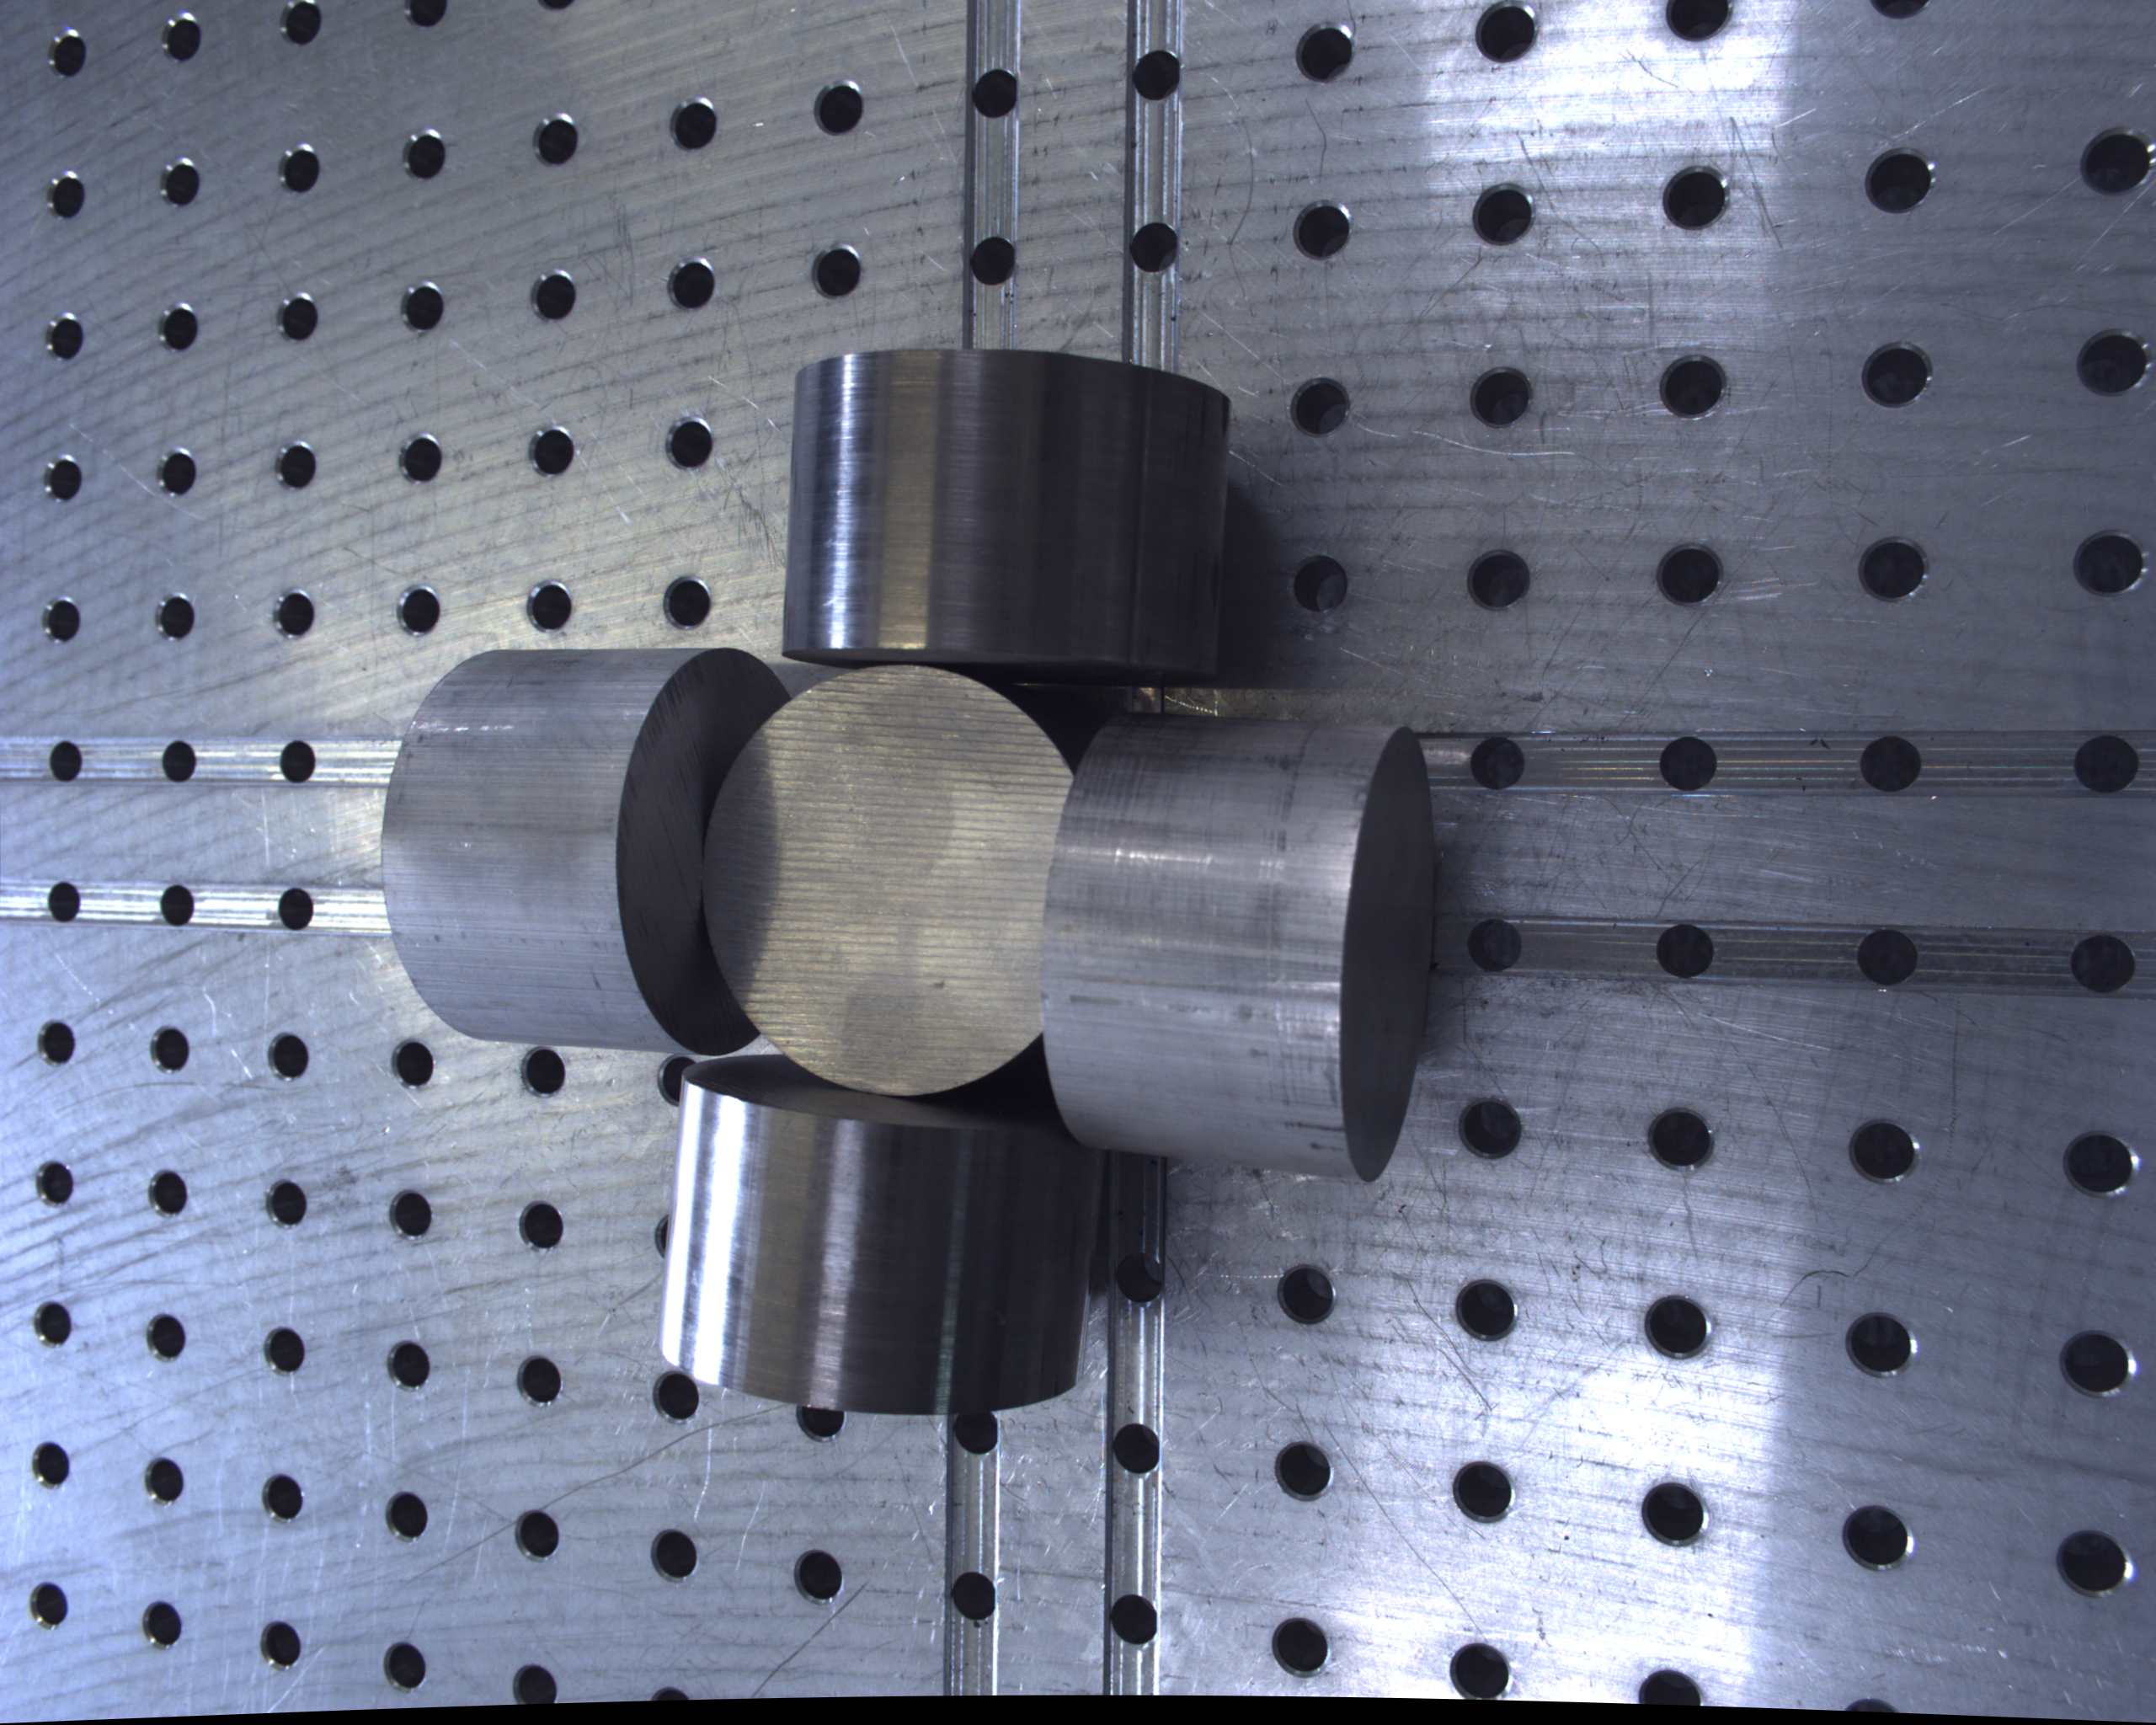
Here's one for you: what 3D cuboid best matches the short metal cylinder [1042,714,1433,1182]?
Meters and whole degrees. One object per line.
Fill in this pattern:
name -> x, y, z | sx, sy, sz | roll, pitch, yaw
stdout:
short metal cylinder -> 0.031, 0.014, 0.372 | 0.050, 0.080, 0.079 | 4, 92, 19

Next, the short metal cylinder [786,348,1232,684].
short metal cylinder -> -0.013, -0.061, 0.387 | 0.080, 0.080, 0.050 | 3, 91, 20

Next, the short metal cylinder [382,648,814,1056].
short metal cylinder -> -0.092, -0.003, 0.416 | 0.050, 0.080, 0.079 | 2, 91, 19

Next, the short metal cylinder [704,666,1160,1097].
short metal cylinder -> -0.025, 0.003, 0.409 | 0.080, 0.050, 0.080 | 0, 90, 18

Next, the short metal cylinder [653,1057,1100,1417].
short metal cylinder -> -0.037, 0.068, 0.395 | 0.080, 0.080, 0.050 | 7, 92, 20
